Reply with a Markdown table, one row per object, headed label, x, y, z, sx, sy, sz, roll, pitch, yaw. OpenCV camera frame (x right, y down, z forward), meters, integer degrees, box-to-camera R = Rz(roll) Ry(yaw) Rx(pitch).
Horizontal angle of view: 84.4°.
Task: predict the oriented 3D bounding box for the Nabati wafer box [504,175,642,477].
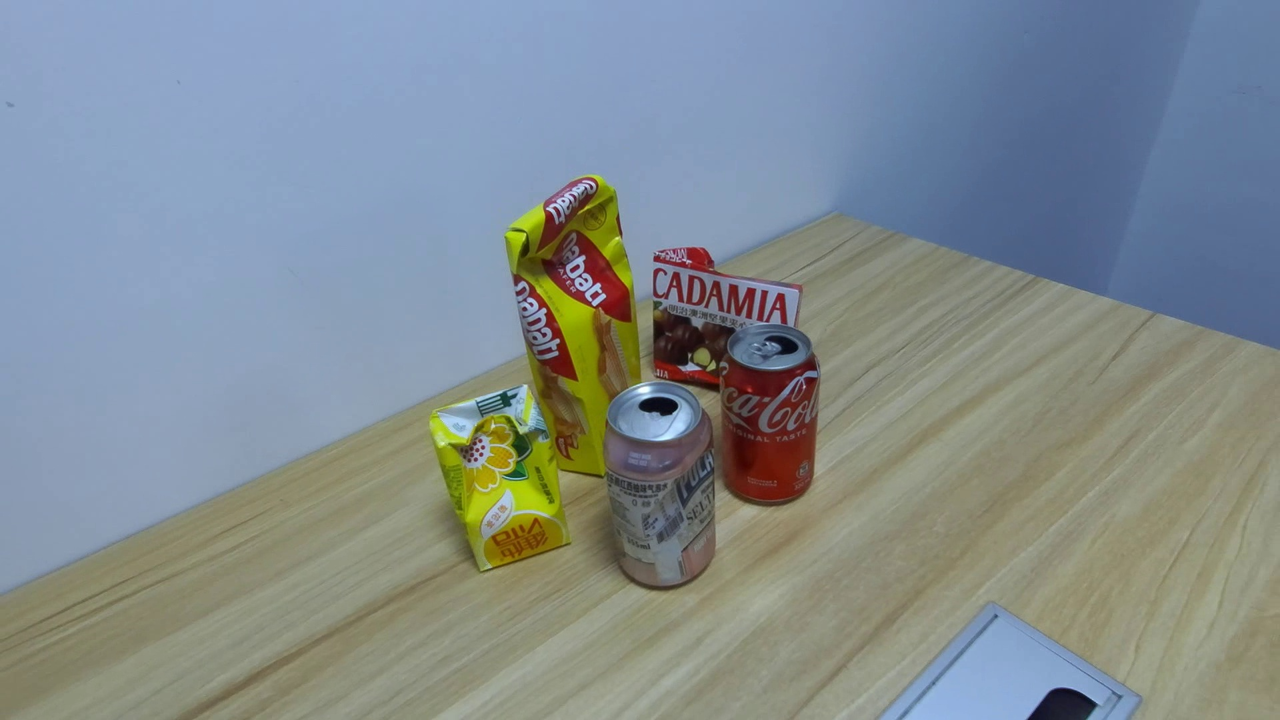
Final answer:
| label | x | y | z | sx | sy | sz | roll | pitch | yaw |
| --- | --- | --- | --- | --- | --- | --- | --- | --- | --- |
| Nabati wafer box | -0.039 | -0.020 | 0.517 | 0.042 | 0.205 | 0.113 | 7 | 36 | 23 |

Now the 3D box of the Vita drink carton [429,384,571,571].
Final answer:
| label | x | y | z | sx | sy | sz | roll | pitch | yaw |
| --- | --- | --- | --- | --- | --- | --- | --- | --- | --- |
| Vita drink carton | -0.089 | 0.080 | 0.465 | 0.071 | 0.110 | 0.046 | -16 | 32 | -12 |

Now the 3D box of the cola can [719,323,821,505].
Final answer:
| label | x | y | z | sx | sy | sz | roll | pitch | yaw |
| --- | --- | --- | --- | --- | --- | --- | --- | --- | --- |
| cola can | 0.089 | 0.037 | 0.489 | 0.068 | 0.120 | 0.068 | -3 | 33 | 3 |

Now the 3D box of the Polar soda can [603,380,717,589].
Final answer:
| label | x | y | z | sx | sy | sz | roll | pitch | yaw |
| --- | --- | --- | --- | --- | --- | --- | --- | --- | --- |
| Polar soda can | 0.015 | 0.078 | 0.438 | 0.074 | 0.122 | 0.067 | -15 | 34 | -12 |

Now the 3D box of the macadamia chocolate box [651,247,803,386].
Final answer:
| label | x | y | z | sx | sy | sz | roll | pitch | yaw |
| --- | --- | --- | --- | --- | --- | --- | --- | --- | --- |
| macadamia chocolate box | 0.071 | -0.032 | 0.596 | 0.126 | 0.112 | 0.056 | 14 | 37 | 28 |
